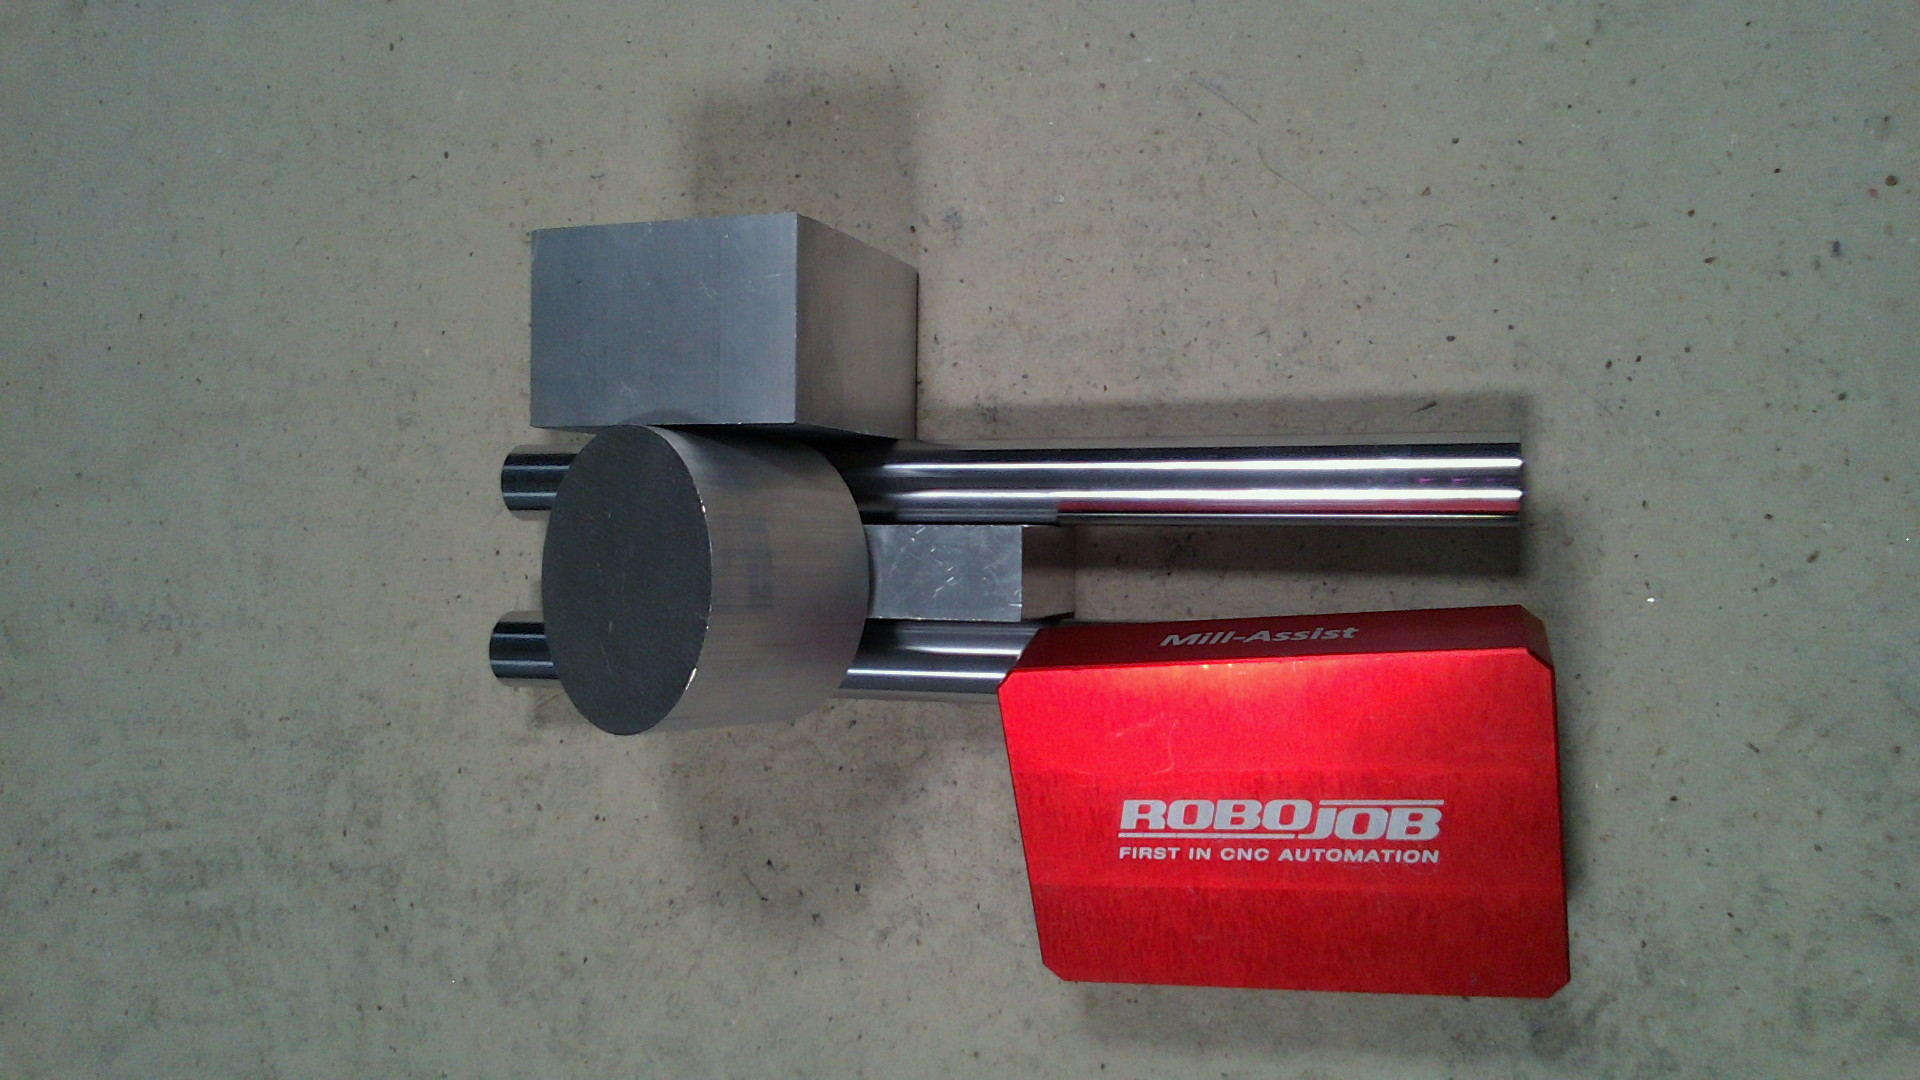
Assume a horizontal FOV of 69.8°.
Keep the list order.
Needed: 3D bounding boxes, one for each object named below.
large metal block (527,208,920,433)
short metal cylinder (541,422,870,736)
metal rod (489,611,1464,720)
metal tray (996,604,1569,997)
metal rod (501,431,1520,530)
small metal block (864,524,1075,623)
[{"bbox_3d":[-0.064,-0.057,0.390,0.080,0.080,0.050,1,90,20],"label":"large metal block"},{"bbox_3d":[-0.070,0.011,0.370,0.080,0.050,0.080,-2,87,44],"label":"short metal cylinder"},{"bbox_3d":[-0.005,0.035,0.398,0.299,0.025,0.025,0,90,20],"label":"metal rod"},{"bbox_3d":[0.081,0.067,0.349,0.130,0.030,0.090,-4,106,19],"label":"metal tray"},{"bbox_3d":[0.000,-0.017,0.397,0.299,0.025,0.025,1,90,20],"label":"metal rod"},{"bbox_3d":[0.001,0.008,0.382,0.050,0.050,0.025,1,90,20],"label":"small metal block"}]
